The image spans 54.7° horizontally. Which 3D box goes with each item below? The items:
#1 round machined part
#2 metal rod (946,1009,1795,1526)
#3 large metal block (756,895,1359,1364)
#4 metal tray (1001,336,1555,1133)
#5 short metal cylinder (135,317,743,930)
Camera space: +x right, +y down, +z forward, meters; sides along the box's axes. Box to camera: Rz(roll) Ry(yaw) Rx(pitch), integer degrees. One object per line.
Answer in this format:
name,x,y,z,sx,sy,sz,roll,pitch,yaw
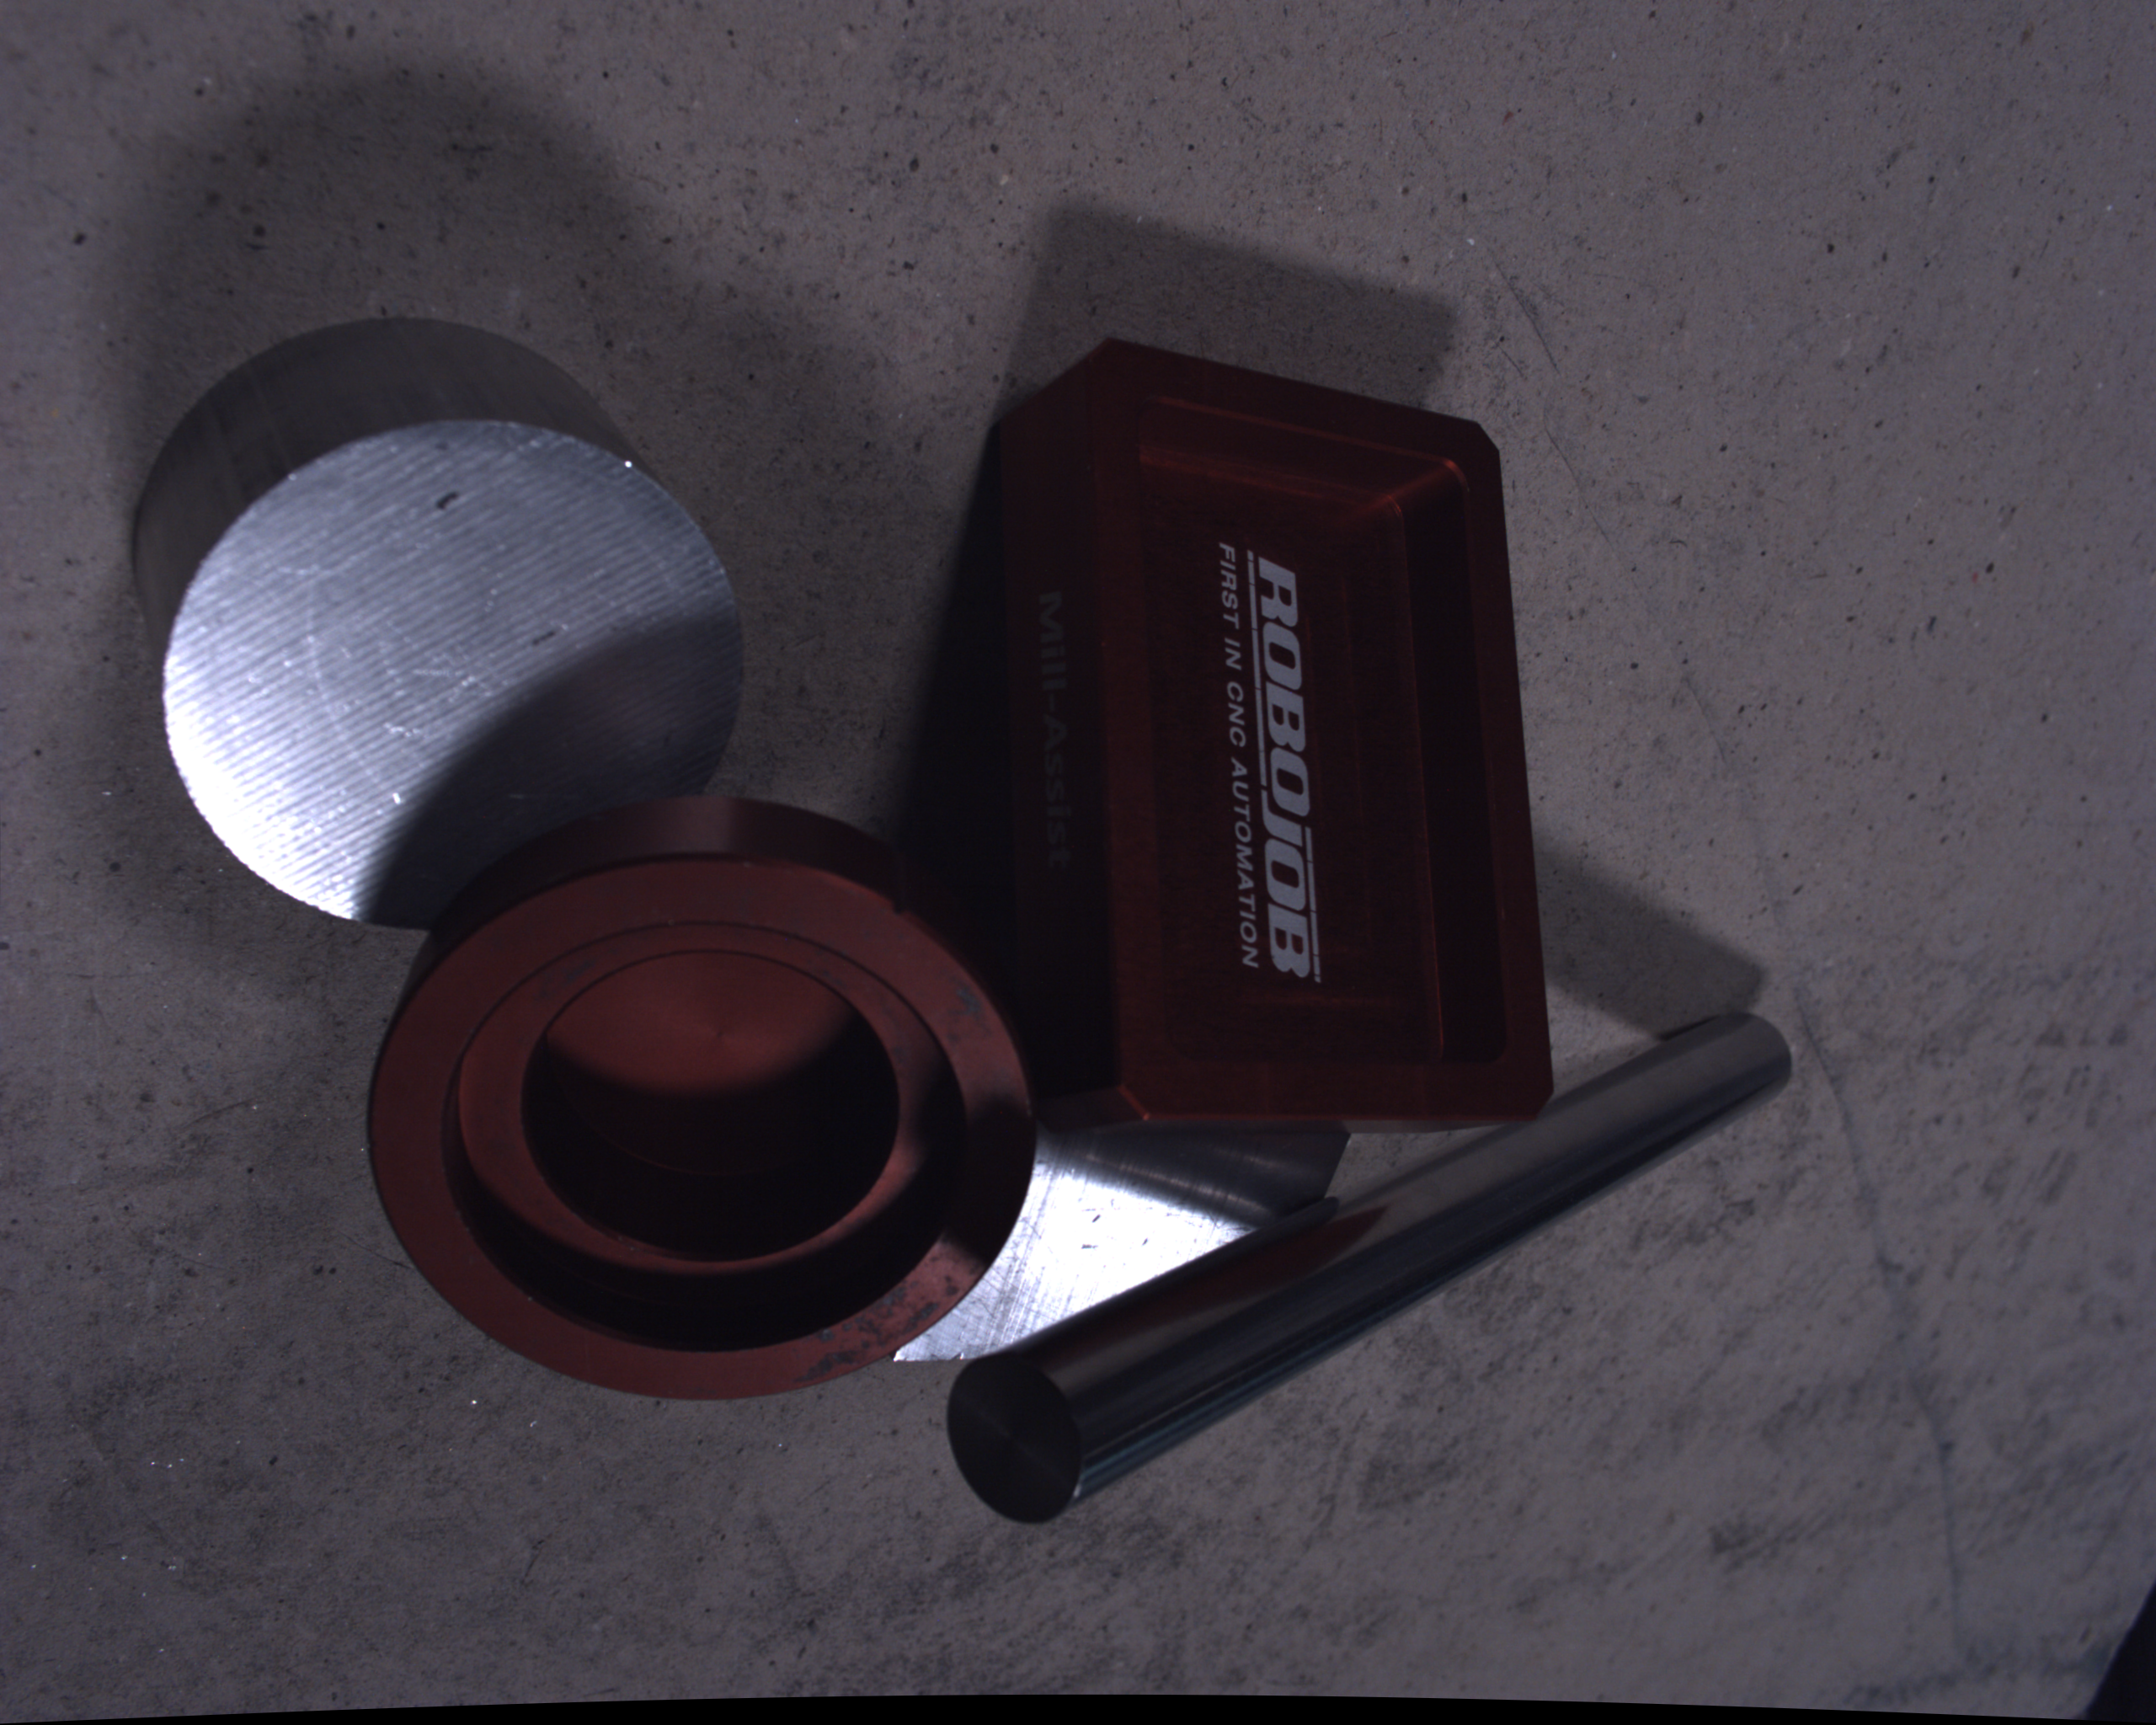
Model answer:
round machined part,-0.058,0.033,0.330,0.099,0.042,0.097,-3,116,-5
metal rod,0.082,0.066,0.420,0.302,0.025,0.025,-11,127,-52
large metal block,-0.006,0.048,0.400,0.081,0.080,0.050,4,116,-31
metal tray,0.035,-0.019,0.365,0.091,0.030,0.129,5,76,-31
short metal cylinder,-0.097,-0.037,0.317,0.081,0.050,0.079,-14,125,-21
